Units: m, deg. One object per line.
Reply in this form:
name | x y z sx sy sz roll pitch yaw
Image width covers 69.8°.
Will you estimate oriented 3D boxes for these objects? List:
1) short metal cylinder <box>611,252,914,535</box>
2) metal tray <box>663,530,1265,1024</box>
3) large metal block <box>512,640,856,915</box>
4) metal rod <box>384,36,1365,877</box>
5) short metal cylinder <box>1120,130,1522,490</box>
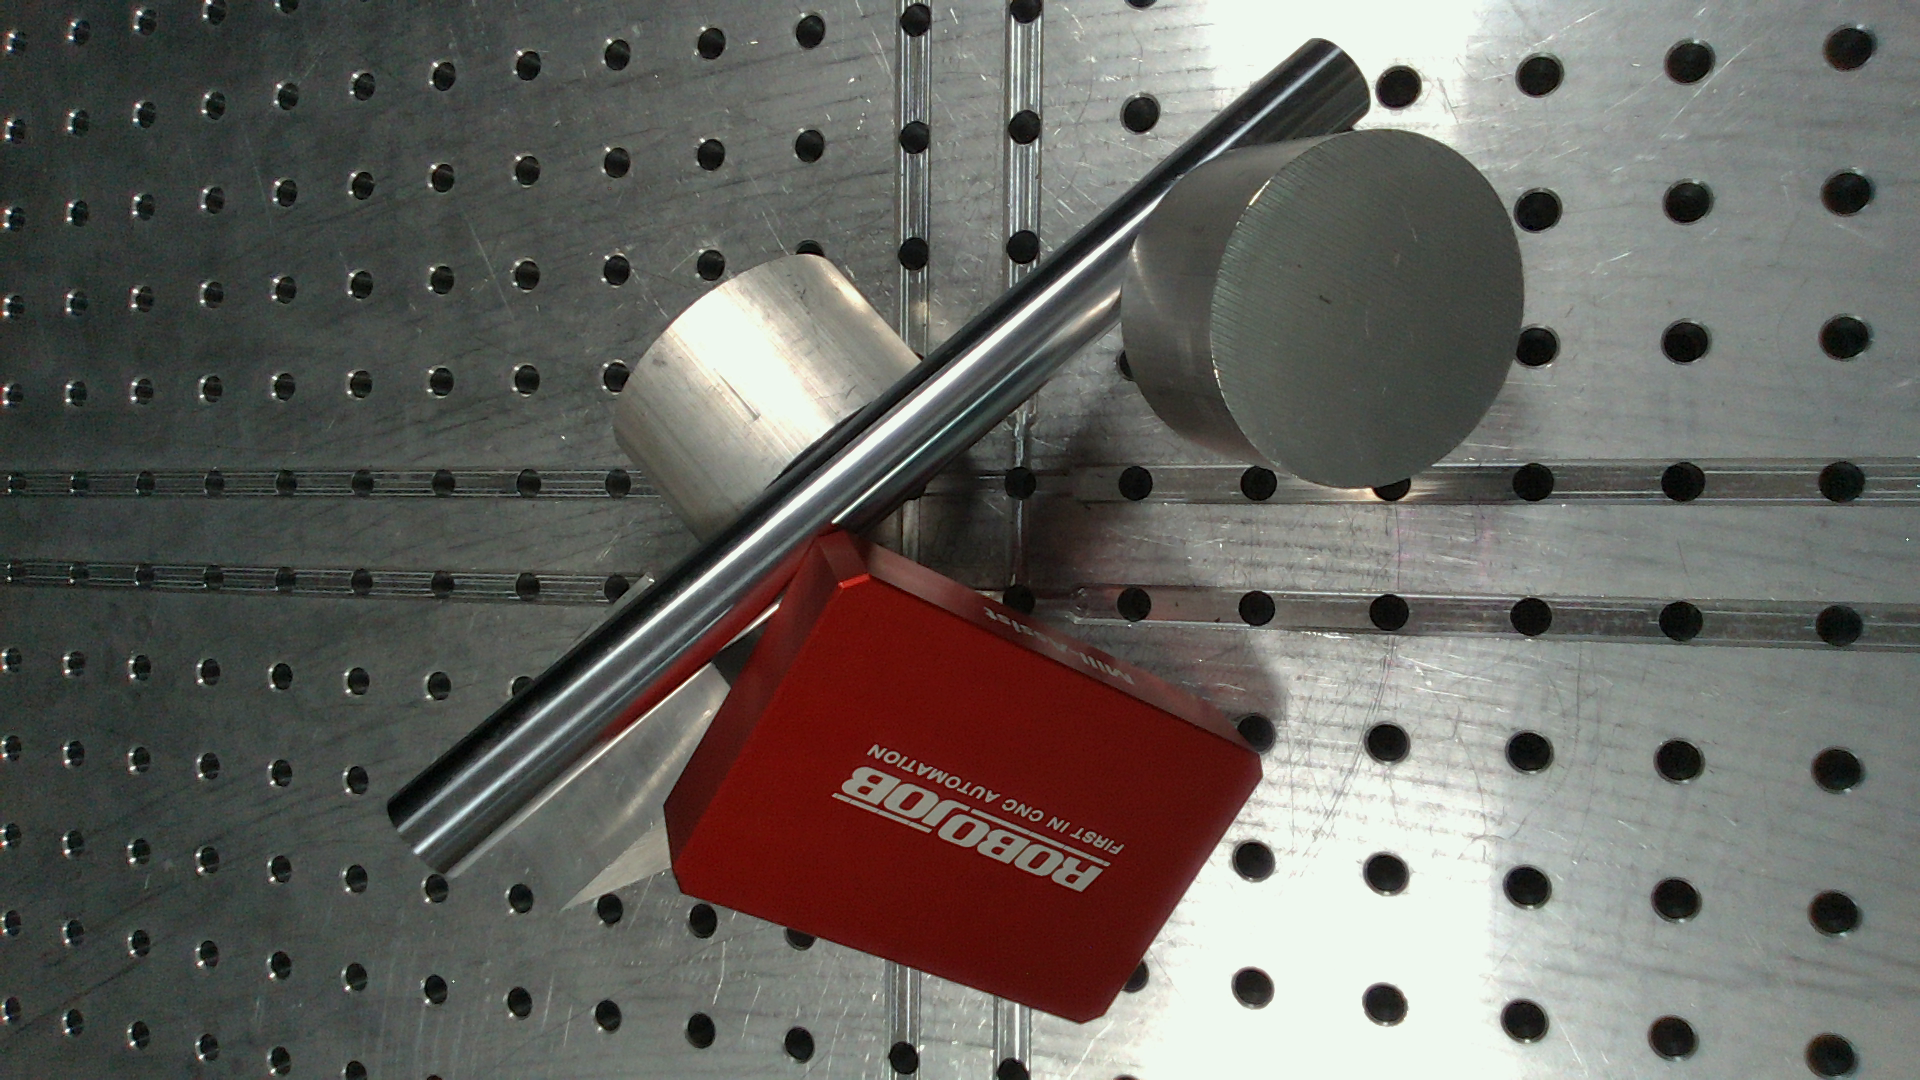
short metal cylinder | -0.049 -0.033 0.387 0.080 0.080 0.050 -45 76 14
metal tray | 0.003 0.064 0.353 0.130 0.030 0.090 26 101 -24
large metal block | -0.079 0.054 0.397 0.080 0.080 0.050 -42 77 15
metal rod | -0.016 -0.025 0.347 0.300 0.025 0.025 -40 76 -6
short metal cylinder | 0.086 -0.056 0.333 0.080 0.050 0.080 -4 103 -17
